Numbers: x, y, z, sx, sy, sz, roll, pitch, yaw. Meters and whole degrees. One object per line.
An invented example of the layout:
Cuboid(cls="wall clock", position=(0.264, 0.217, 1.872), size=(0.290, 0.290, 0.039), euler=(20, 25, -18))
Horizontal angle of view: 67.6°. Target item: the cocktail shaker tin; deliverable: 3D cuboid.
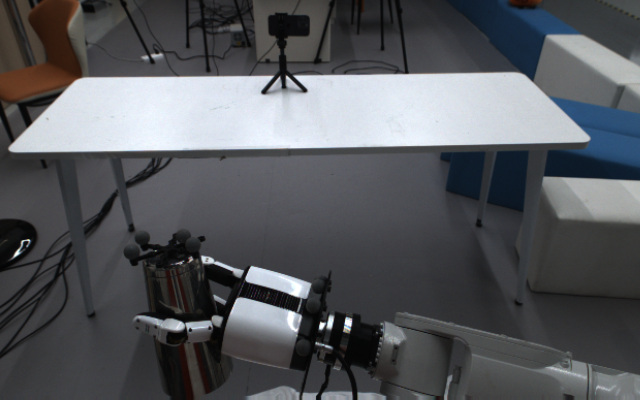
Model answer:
Cuboid(cls="cocktail shaker tin", position=(-0.166, 0.146, 0.595), size=(0.093, 0.170, 0.093), euler=(-6, 19, 2))
